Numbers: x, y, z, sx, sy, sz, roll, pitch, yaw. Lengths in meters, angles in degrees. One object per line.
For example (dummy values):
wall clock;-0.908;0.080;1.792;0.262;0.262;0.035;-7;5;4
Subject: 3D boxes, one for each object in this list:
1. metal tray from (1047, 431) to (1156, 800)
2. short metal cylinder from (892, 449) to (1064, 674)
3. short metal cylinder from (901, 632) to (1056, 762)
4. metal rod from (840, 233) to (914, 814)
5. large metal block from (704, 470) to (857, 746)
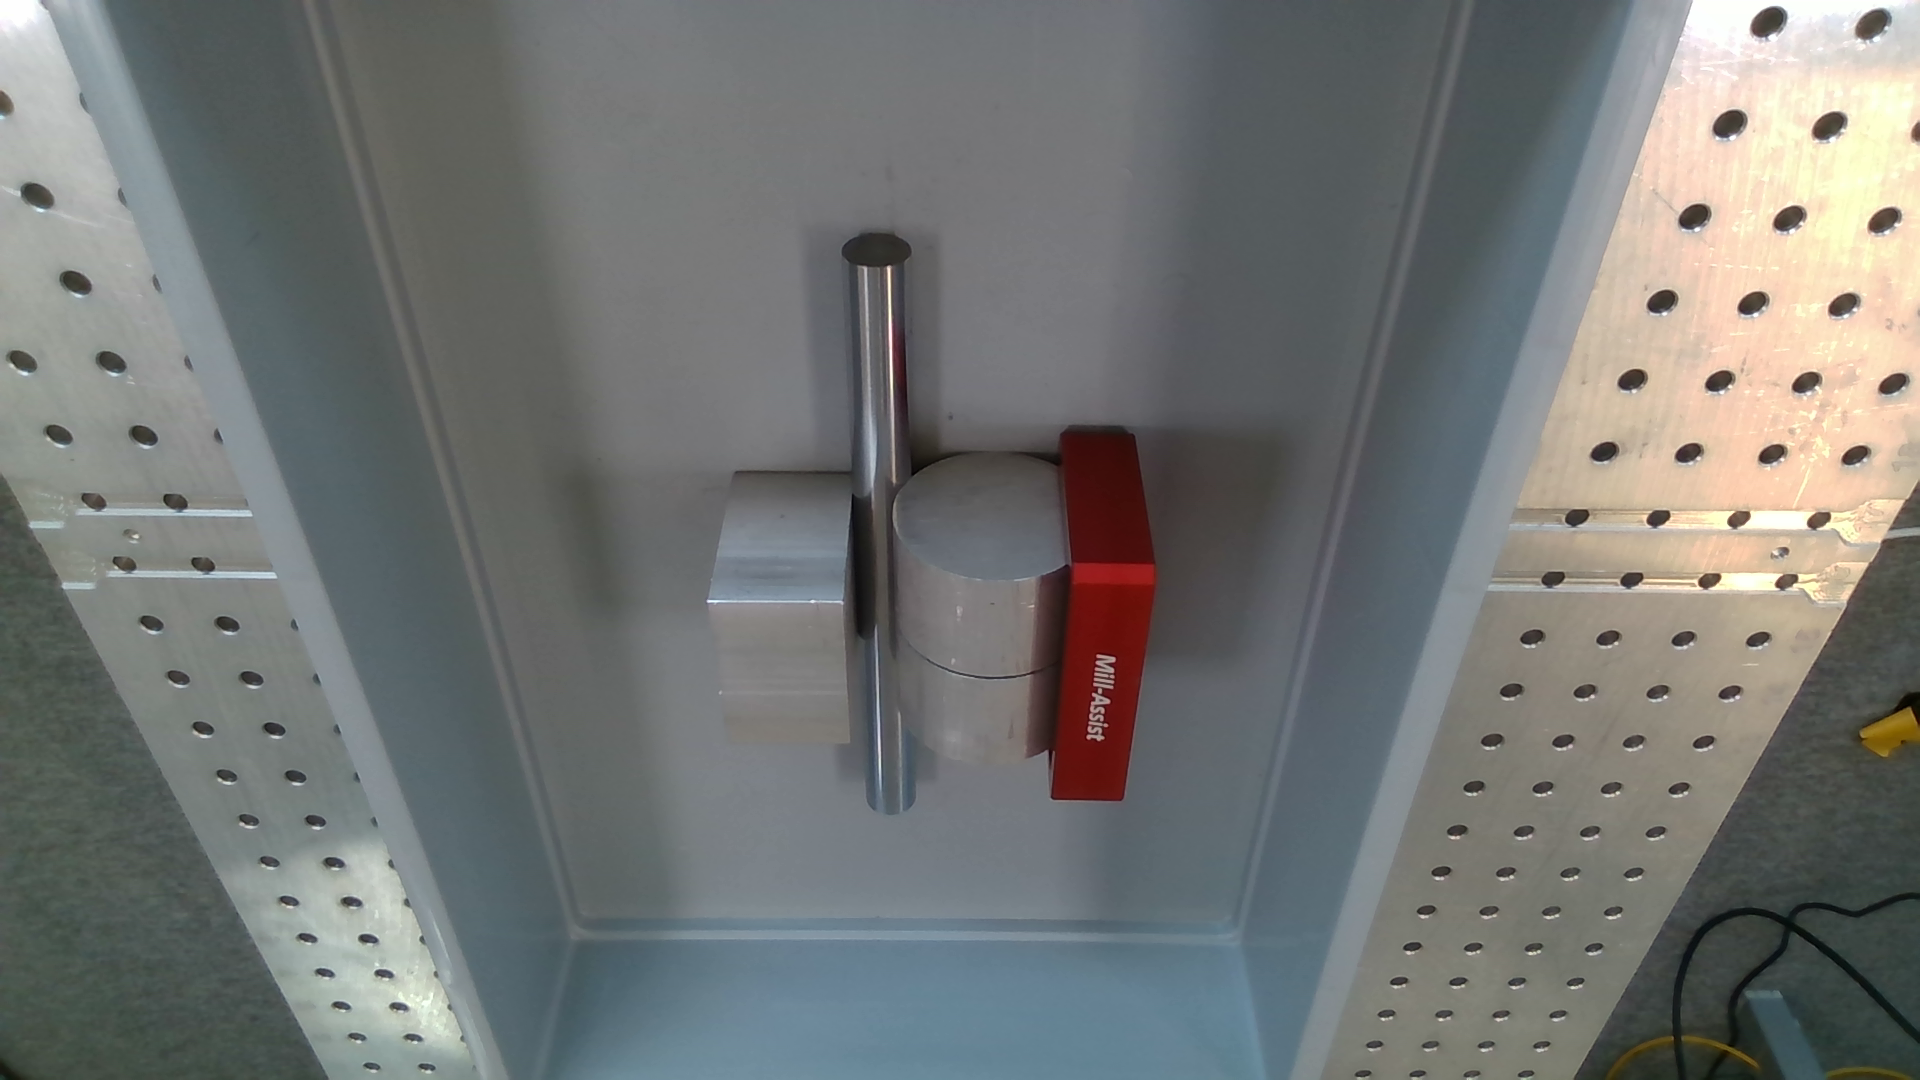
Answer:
metal tray;0.054;0.032;0.563;0.030;0.090;0.130;1;130;-1
short metal cylinder;0.013;0.008;0.550;0.080;0.080;0.050;0;130;0
short metal cylinder;0.013;0.047;0.583;0.080;0.080;0.050;1;130;-1
metal rod;-0.032;0.011;0.587;0.025;0.025;0.301;1;130;-1
large metal block;-0.070;0.028;0.565;0.050;0.080;0.080;1;130;0
